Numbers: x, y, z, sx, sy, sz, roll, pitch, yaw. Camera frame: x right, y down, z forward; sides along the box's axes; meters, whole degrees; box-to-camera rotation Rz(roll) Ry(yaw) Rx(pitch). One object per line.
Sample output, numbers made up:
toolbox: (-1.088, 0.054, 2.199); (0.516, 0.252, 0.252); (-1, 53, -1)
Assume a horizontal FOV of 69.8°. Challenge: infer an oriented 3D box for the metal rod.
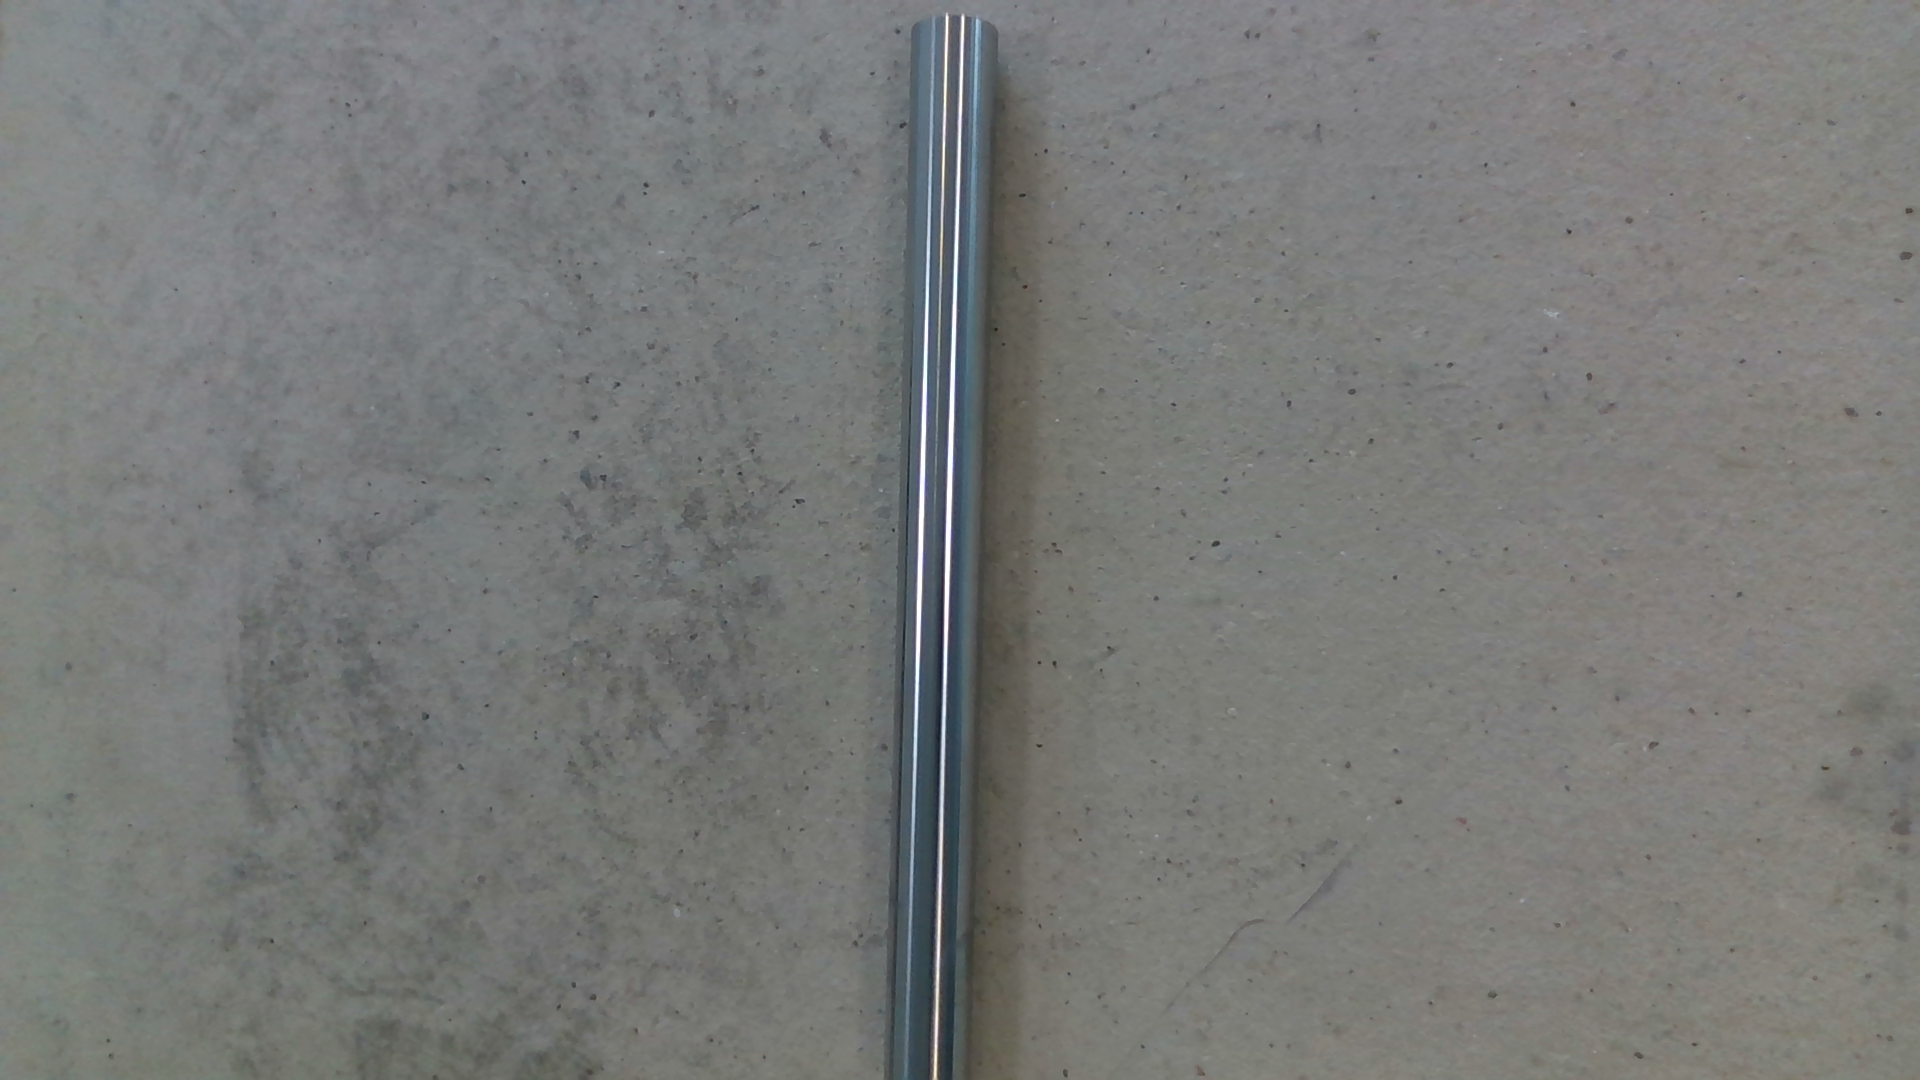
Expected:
metal rod: (-0.006, 0.004, 0.396); (0.025, 0.025, 0.300); (2, 91, 20)
